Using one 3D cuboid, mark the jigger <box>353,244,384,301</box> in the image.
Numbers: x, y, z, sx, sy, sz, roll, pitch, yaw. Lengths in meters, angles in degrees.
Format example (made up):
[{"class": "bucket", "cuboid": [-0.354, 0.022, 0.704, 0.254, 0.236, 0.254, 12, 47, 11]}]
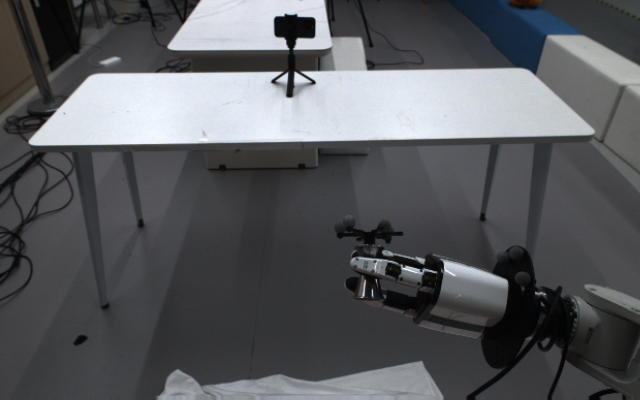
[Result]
[{"class": "jigger", "cuboid": [0.063, 0.093, 0.627, 0.043, 0.043, 0.071, 3, 76, 1]}]
